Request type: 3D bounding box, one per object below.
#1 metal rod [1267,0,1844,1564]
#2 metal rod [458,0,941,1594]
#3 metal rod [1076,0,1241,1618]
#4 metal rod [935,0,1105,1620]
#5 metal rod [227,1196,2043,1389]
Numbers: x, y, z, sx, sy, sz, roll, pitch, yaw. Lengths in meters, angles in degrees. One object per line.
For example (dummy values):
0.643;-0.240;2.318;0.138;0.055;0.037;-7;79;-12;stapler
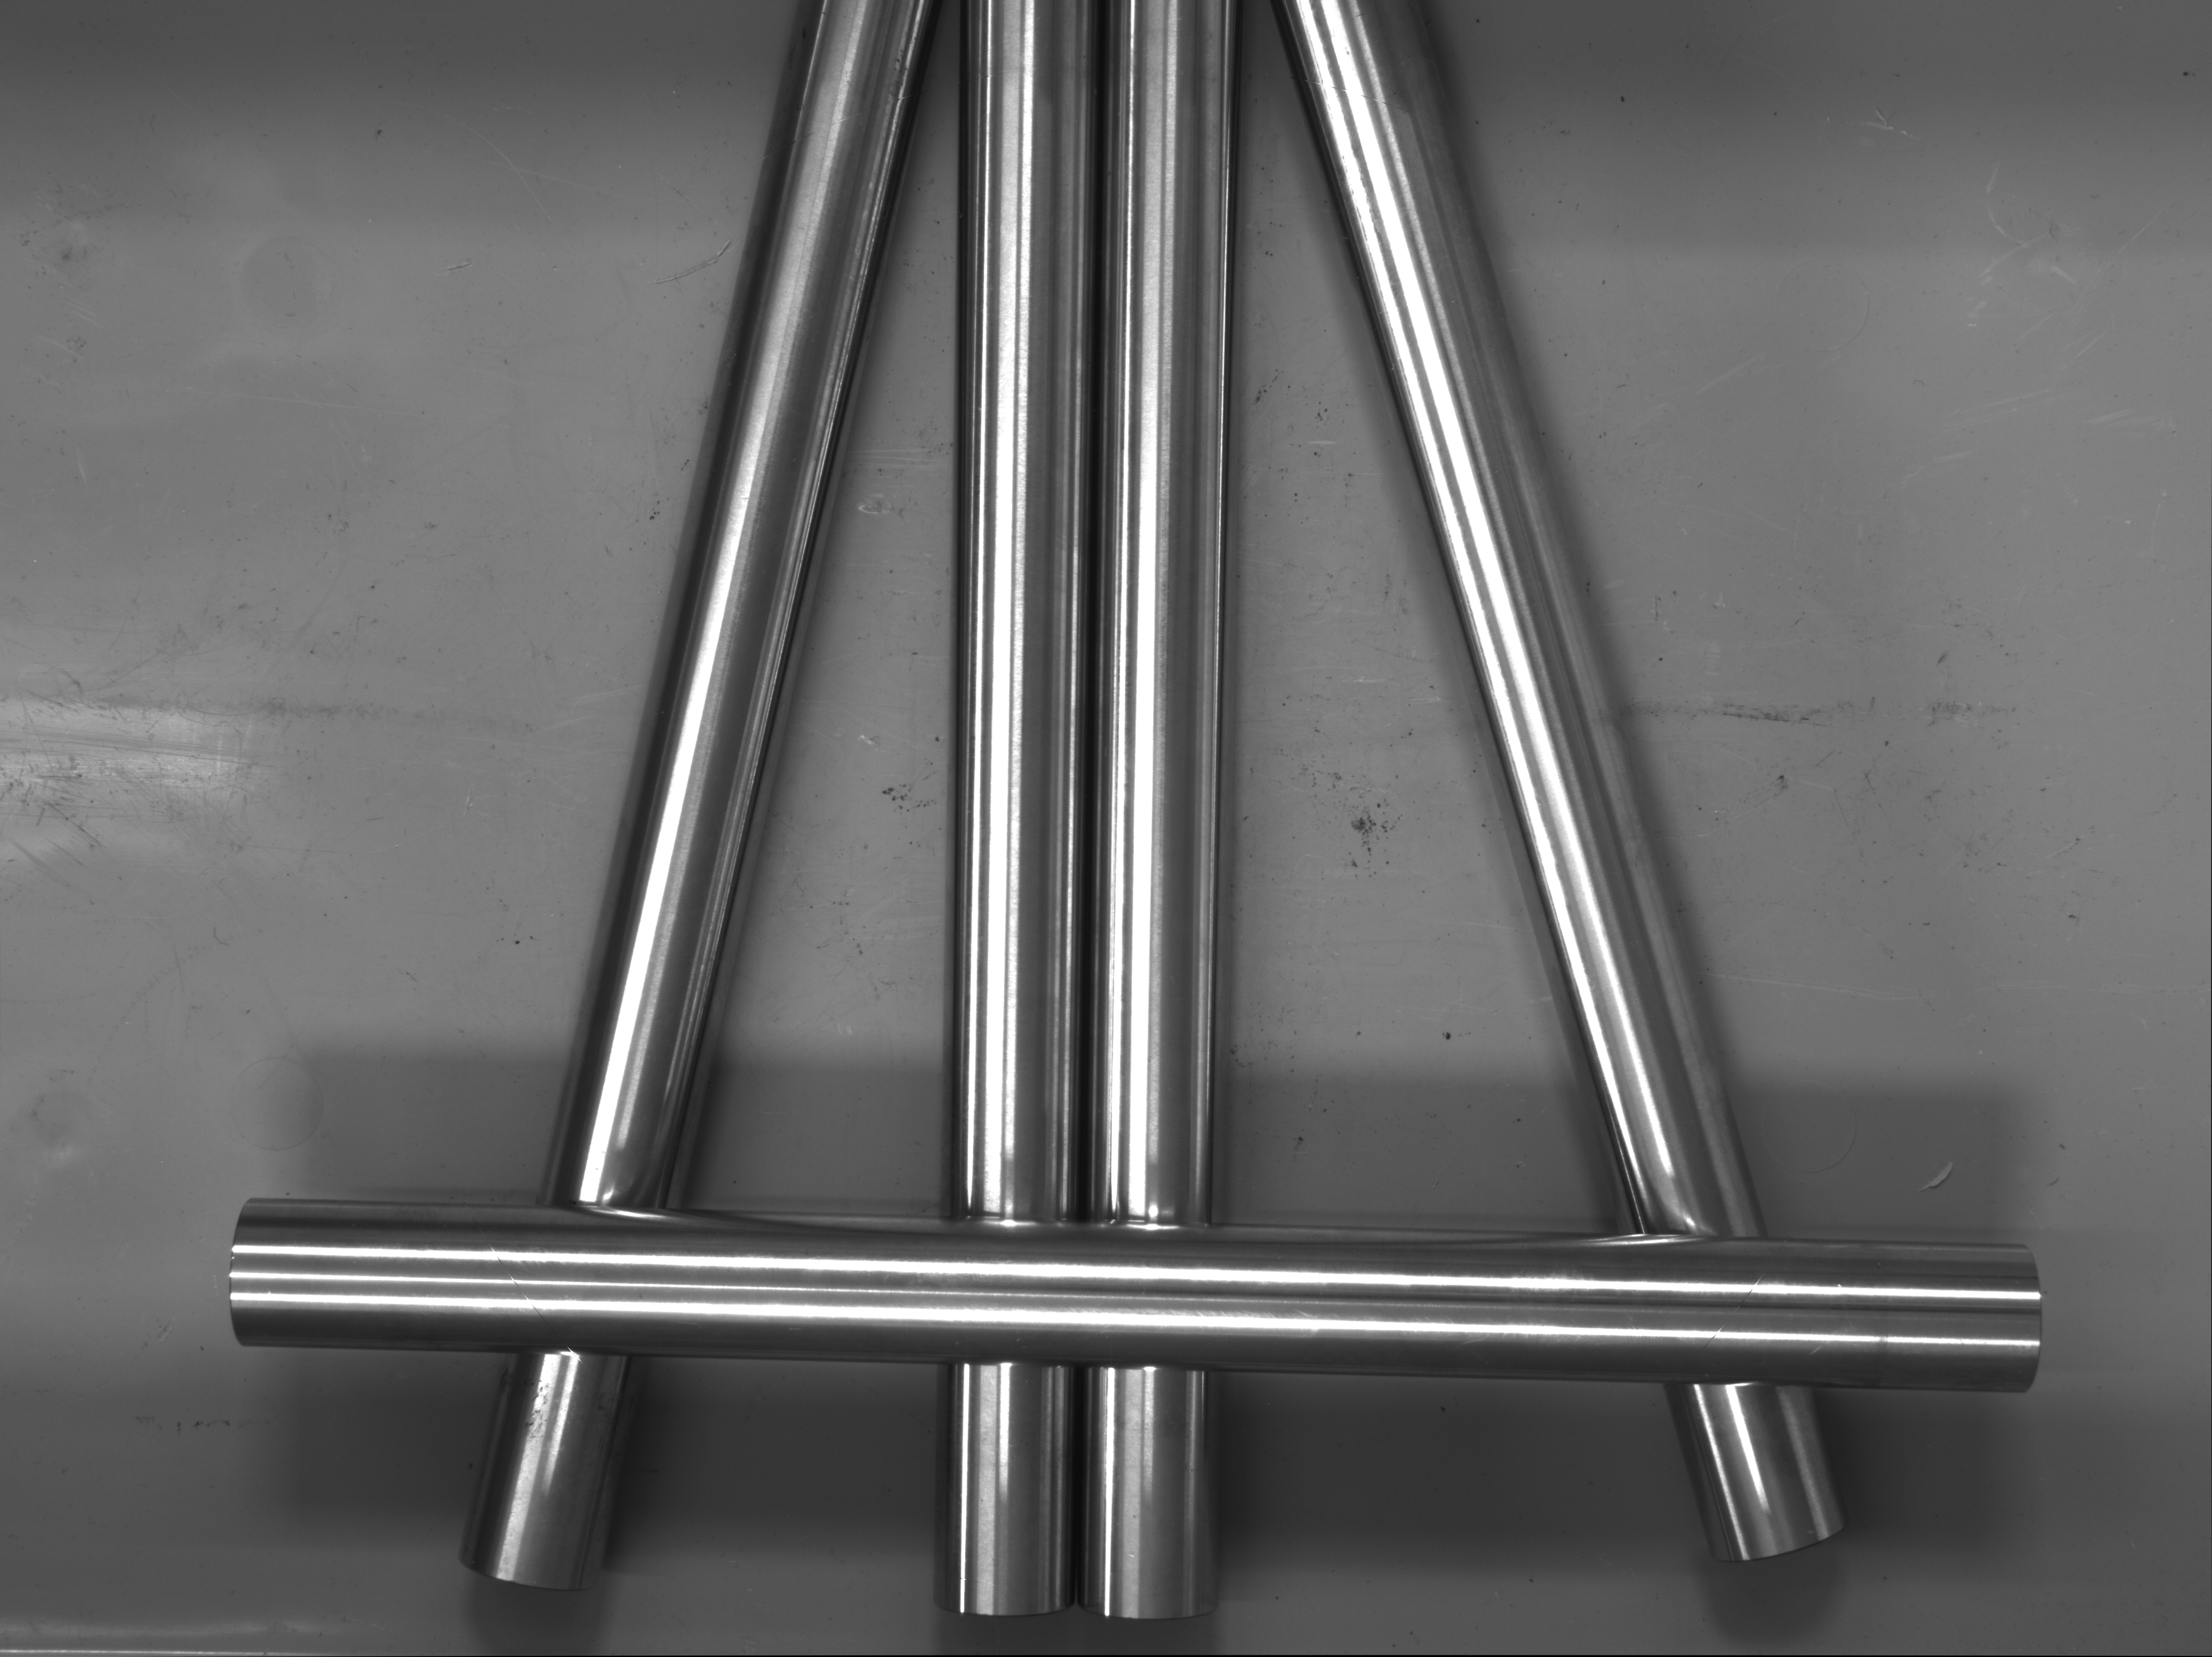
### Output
0.077;-0.019;0.645;0.025;0.025;0.300;-16;90;0;metal rod
-0.070;-0.016;0.644;0.025;0.025;0.300;12;90;0;metal rod
0.009;-0.014;0.644;0.025;0.025;0.300;1;90;0;metal rod
-0.015;-0.014;0.644;0.025;0.025;0.300;1;90;0;metal rod
0.005;0.078;0.618;0.300;0.025;0.025;1;90;0;metal rod
